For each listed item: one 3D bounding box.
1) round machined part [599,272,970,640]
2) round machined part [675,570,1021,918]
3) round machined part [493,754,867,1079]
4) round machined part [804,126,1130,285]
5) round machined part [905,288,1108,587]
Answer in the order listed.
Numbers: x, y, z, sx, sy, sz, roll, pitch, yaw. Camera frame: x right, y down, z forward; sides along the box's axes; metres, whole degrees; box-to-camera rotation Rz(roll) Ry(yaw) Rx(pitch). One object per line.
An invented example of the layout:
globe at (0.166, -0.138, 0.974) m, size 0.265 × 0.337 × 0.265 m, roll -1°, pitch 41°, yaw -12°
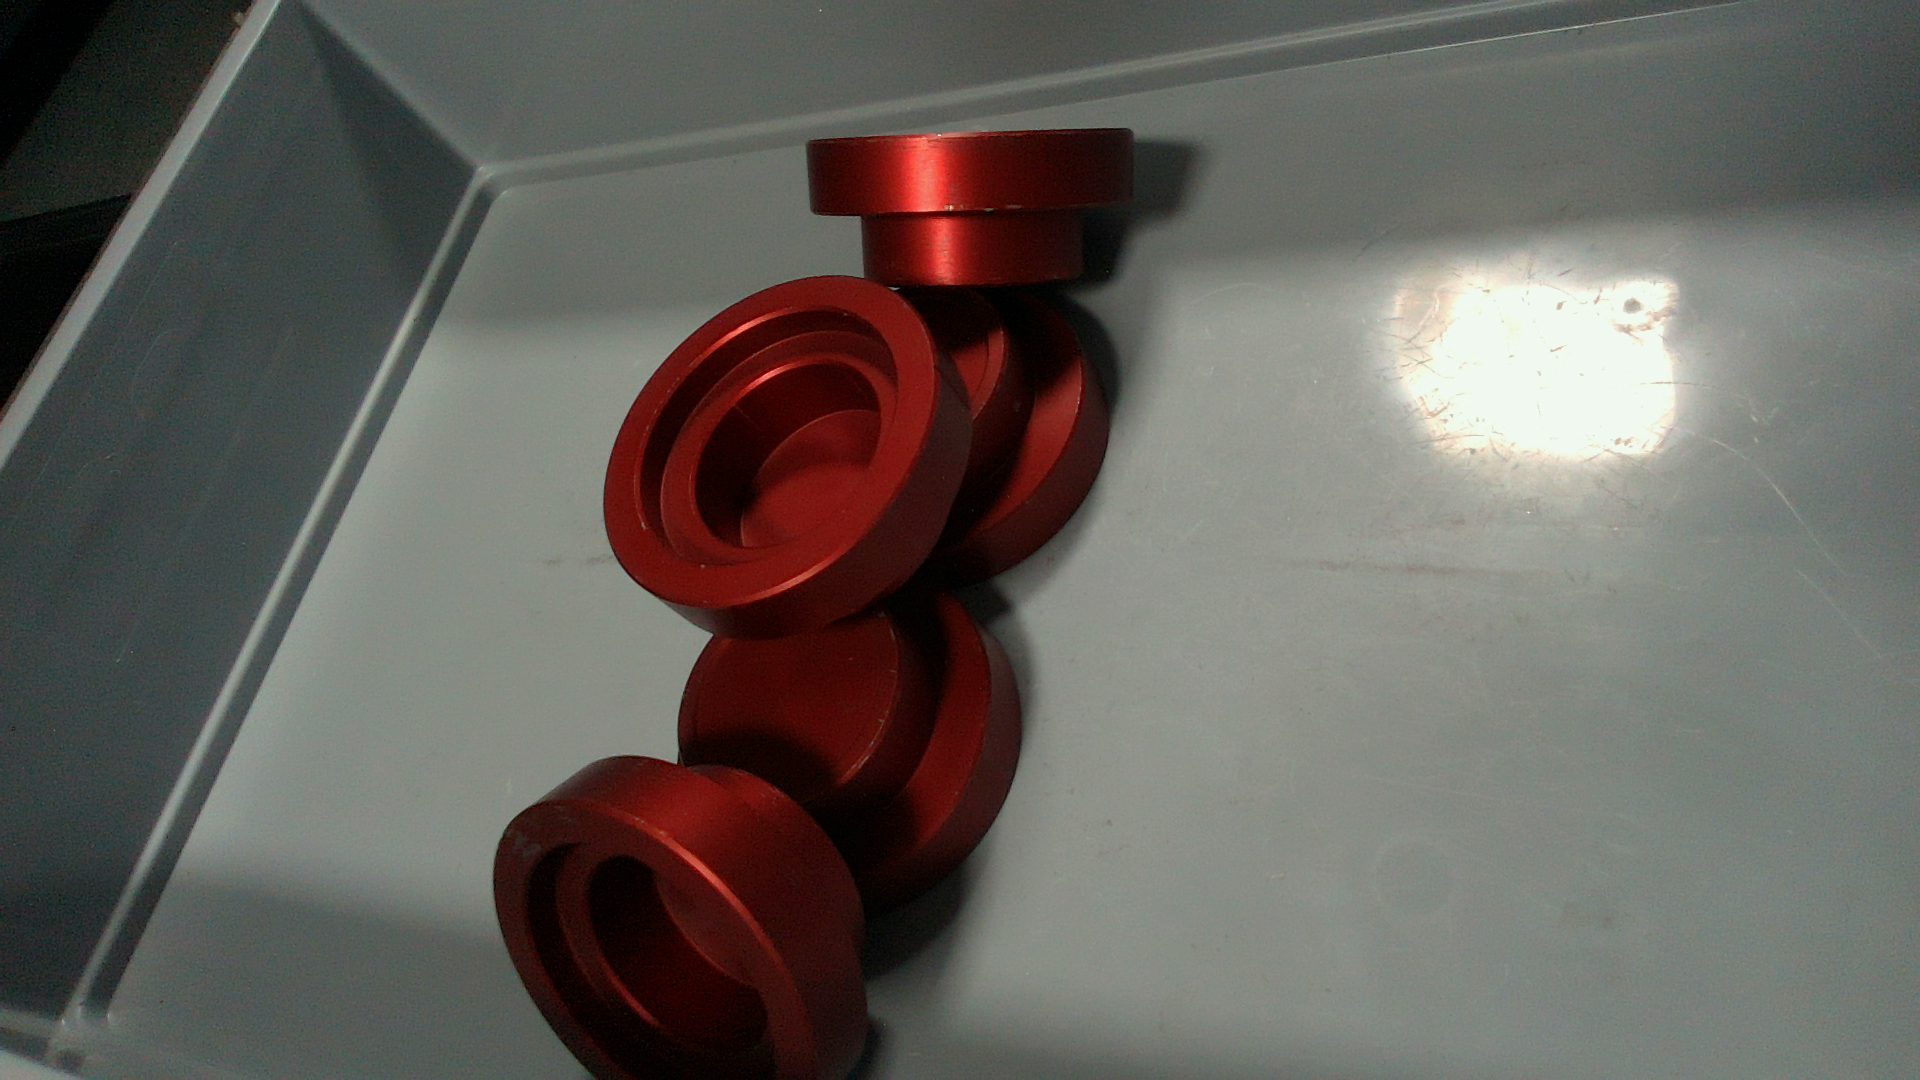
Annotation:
round machined part at (-0.041, -0.018, 0.359) m, size 0.098 × 0.042 × 0.098 m, roll -13°, pitch 56°, yaw 21°
round machined part at (-0.037, 0.049, 0.370) m, size 0.098 × 0.042 × 0.098 m, roll -13°, pitch 56°, yaw 21°
round machined part at (-0.063, 0.094, 0.334) m, size 0.098 × 0.098 × 0.042 m, roll 6°, pitch 27°, yaw 31°
round machined part at (0.003, -0.102, 0.419) m, size 0.098 × 0.098 × 0.042 m, roll 7°, pitch 108°, yaw 32°
round machined part at (-0.009, -0.038, 0.409) m, size 0.098 × 0.042 × 0.098 m, roll -13°, pitch 56°, yaw 21°
